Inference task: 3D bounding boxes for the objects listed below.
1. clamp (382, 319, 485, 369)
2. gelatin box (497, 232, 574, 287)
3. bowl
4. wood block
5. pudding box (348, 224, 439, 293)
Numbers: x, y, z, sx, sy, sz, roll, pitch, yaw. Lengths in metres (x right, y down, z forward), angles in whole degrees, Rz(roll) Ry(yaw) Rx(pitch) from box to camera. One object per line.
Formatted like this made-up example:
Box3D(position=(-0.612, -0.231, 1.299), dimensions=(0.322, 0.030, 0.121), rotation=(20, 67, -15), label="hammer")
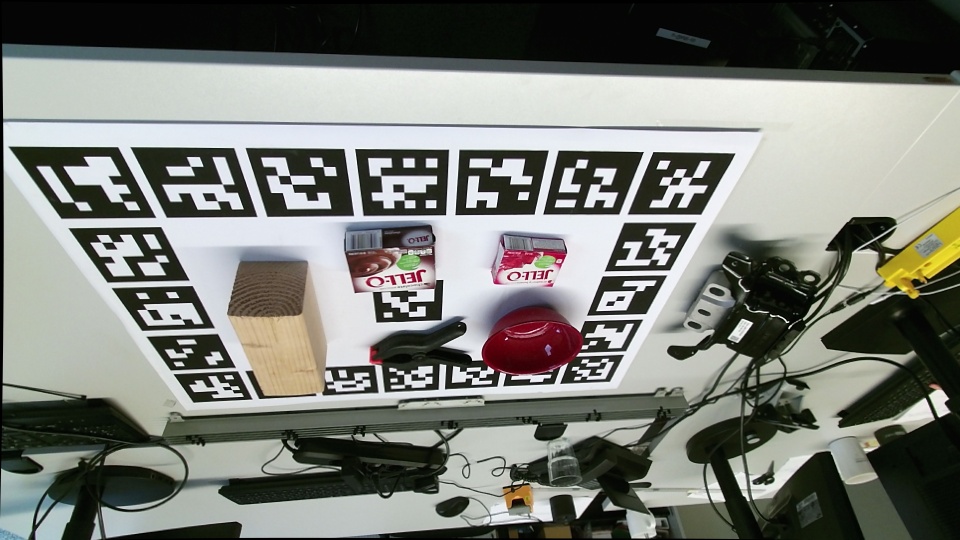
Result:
Box3D(position=(-0.079, 0.130, 0.877), dimensions=(0.166, 0.036, 0.122), rotation=(-7, 138, 2), label="clamp")
Box3D(position=(0.074, -0.012, 0.733), dimensions=(0.090, 0.030, 0.073), rotation=(4, 135, -13), label="gelatin box")
Box3D(position=(0.086, 0.106, 0.859), dimensions=(0.162, 0.055, 0.162), rotation=(-4, 135, -4), label="bowl")
Box3D(position=(-0.275, 0.087, 0.746), dimensions=(0.090, 0.090, 0.206), rotation=(1, 137, -8), label="wood block")
Box3D(position=(-0.110, -0.014, 0.698), dimensions=(0.114, 0.038, 0.090), rotation=(-3, 134, -8), label="pudding box")
